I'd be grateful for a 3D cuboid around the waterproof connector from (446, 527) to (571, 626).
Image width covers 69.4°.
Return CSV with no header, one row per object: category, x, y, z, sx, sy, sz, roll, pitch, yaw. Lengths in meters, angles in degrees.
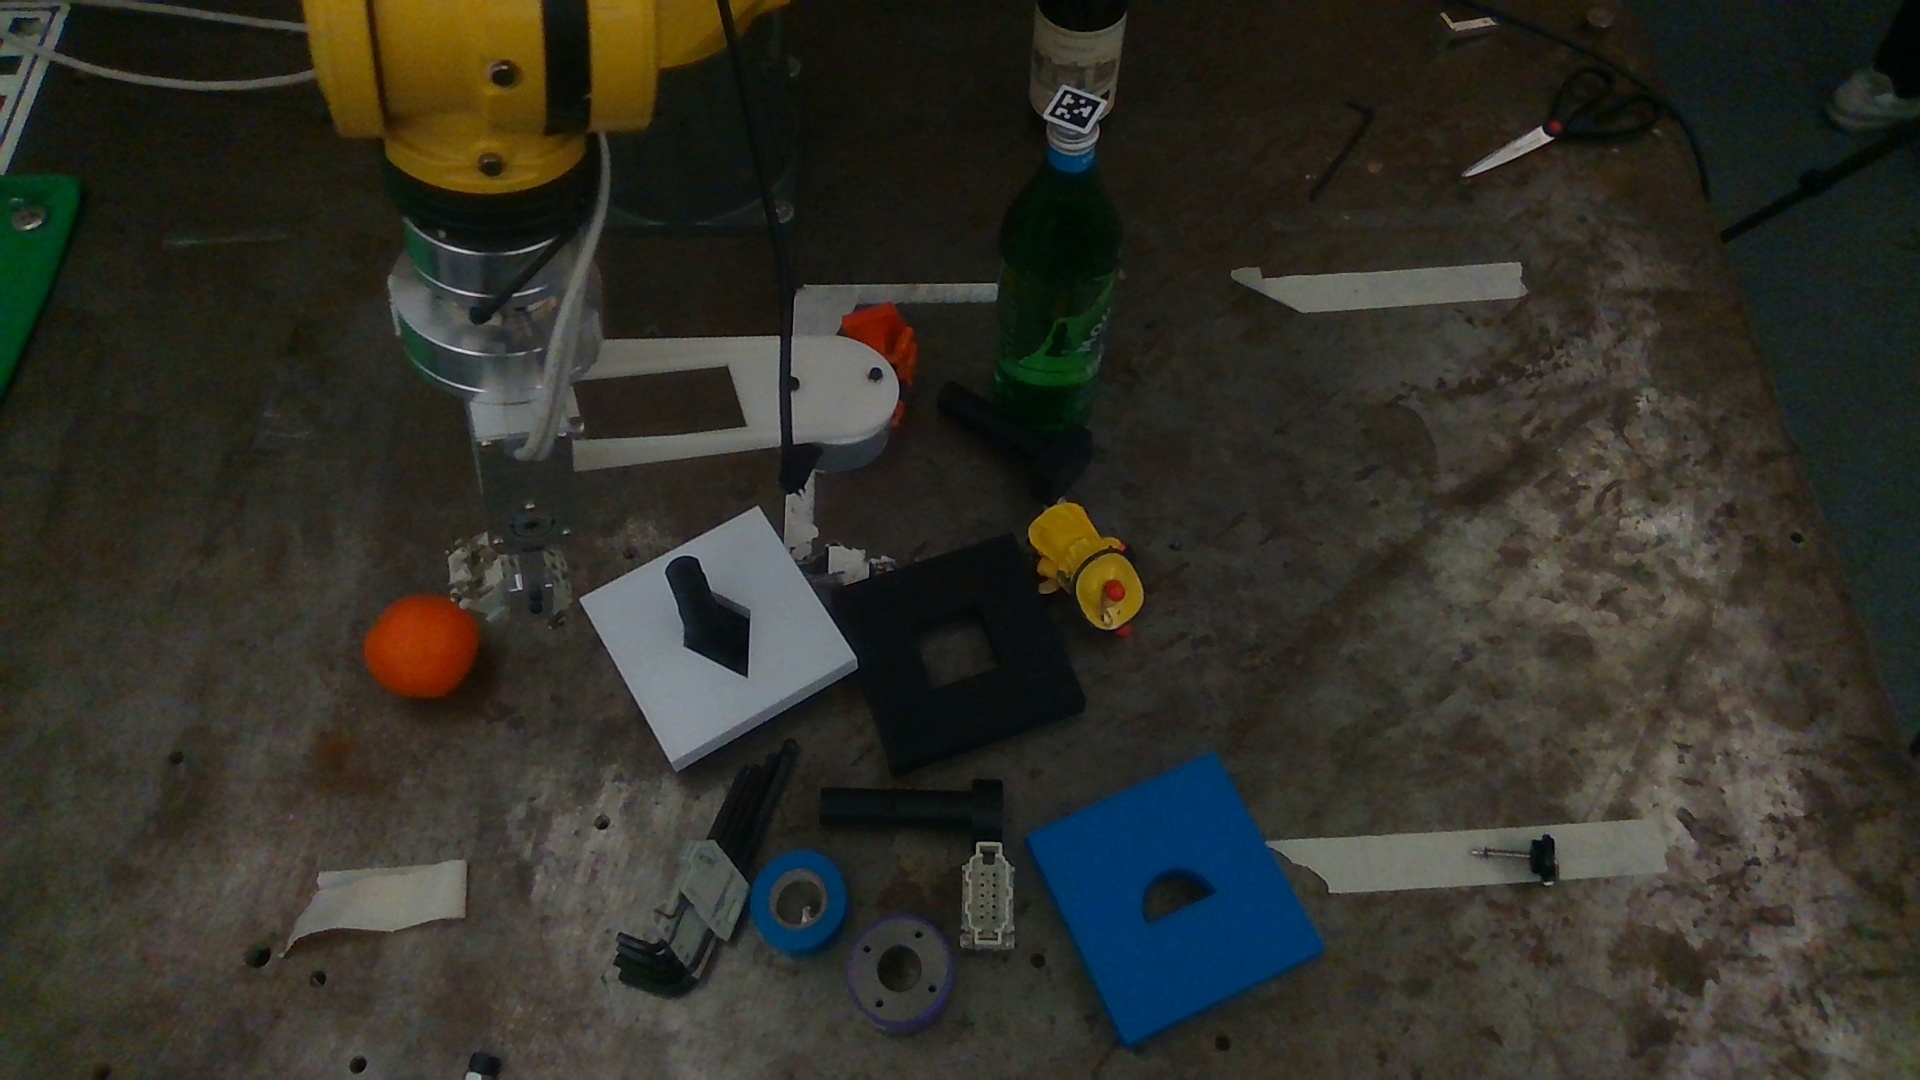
waterproof connector,-0.242,0.023,0.747,0.039,0.069,0.037,-37,53,19
